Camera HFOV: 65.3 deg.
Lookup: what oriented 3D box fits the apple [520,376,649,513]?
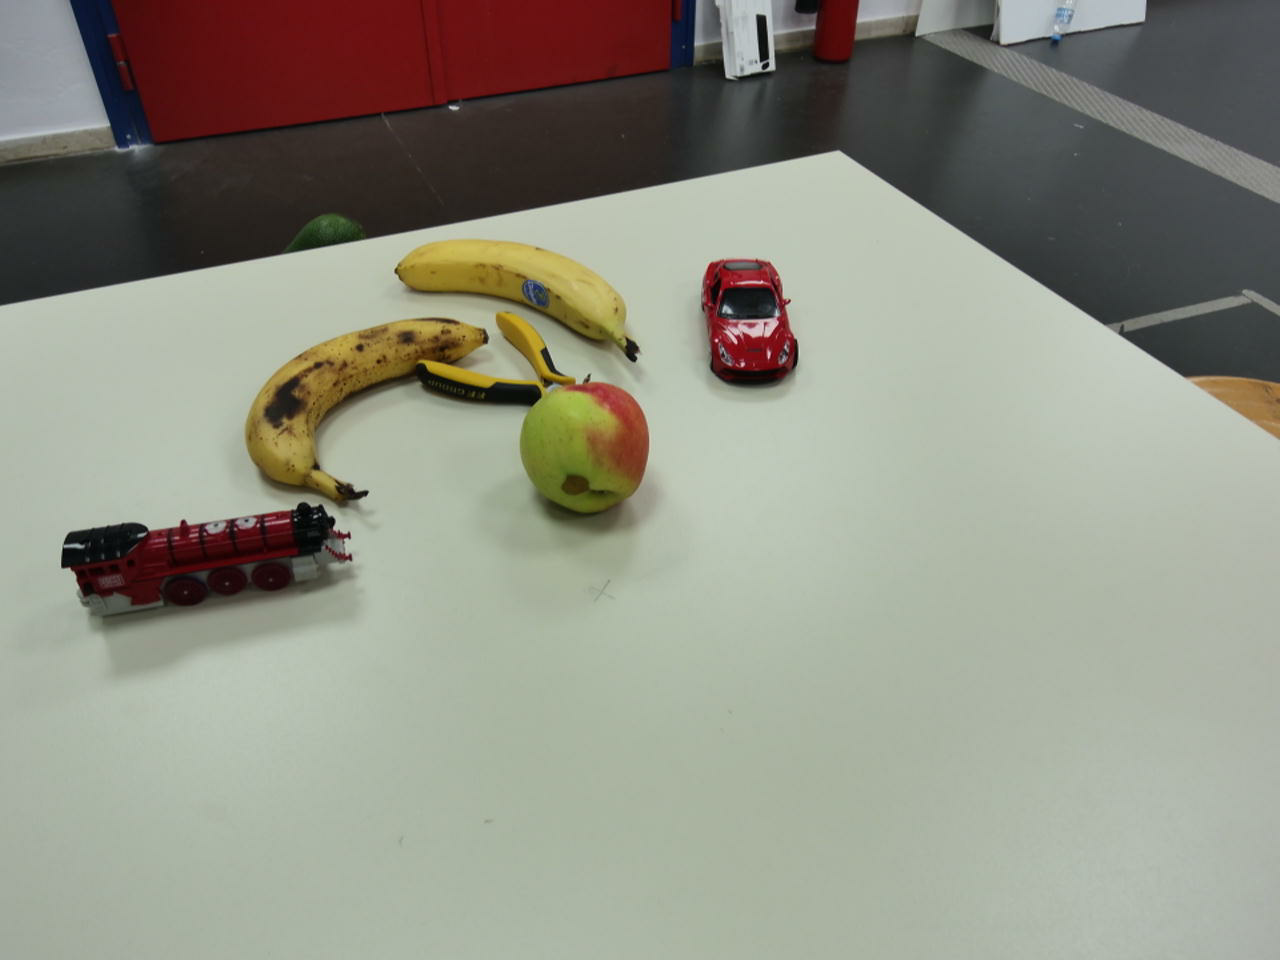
[{"bbox_3d":[-0.030,-0.021,0.574,0.075,0.074,0.075,-31,48,-33],"label":"apple"}]
